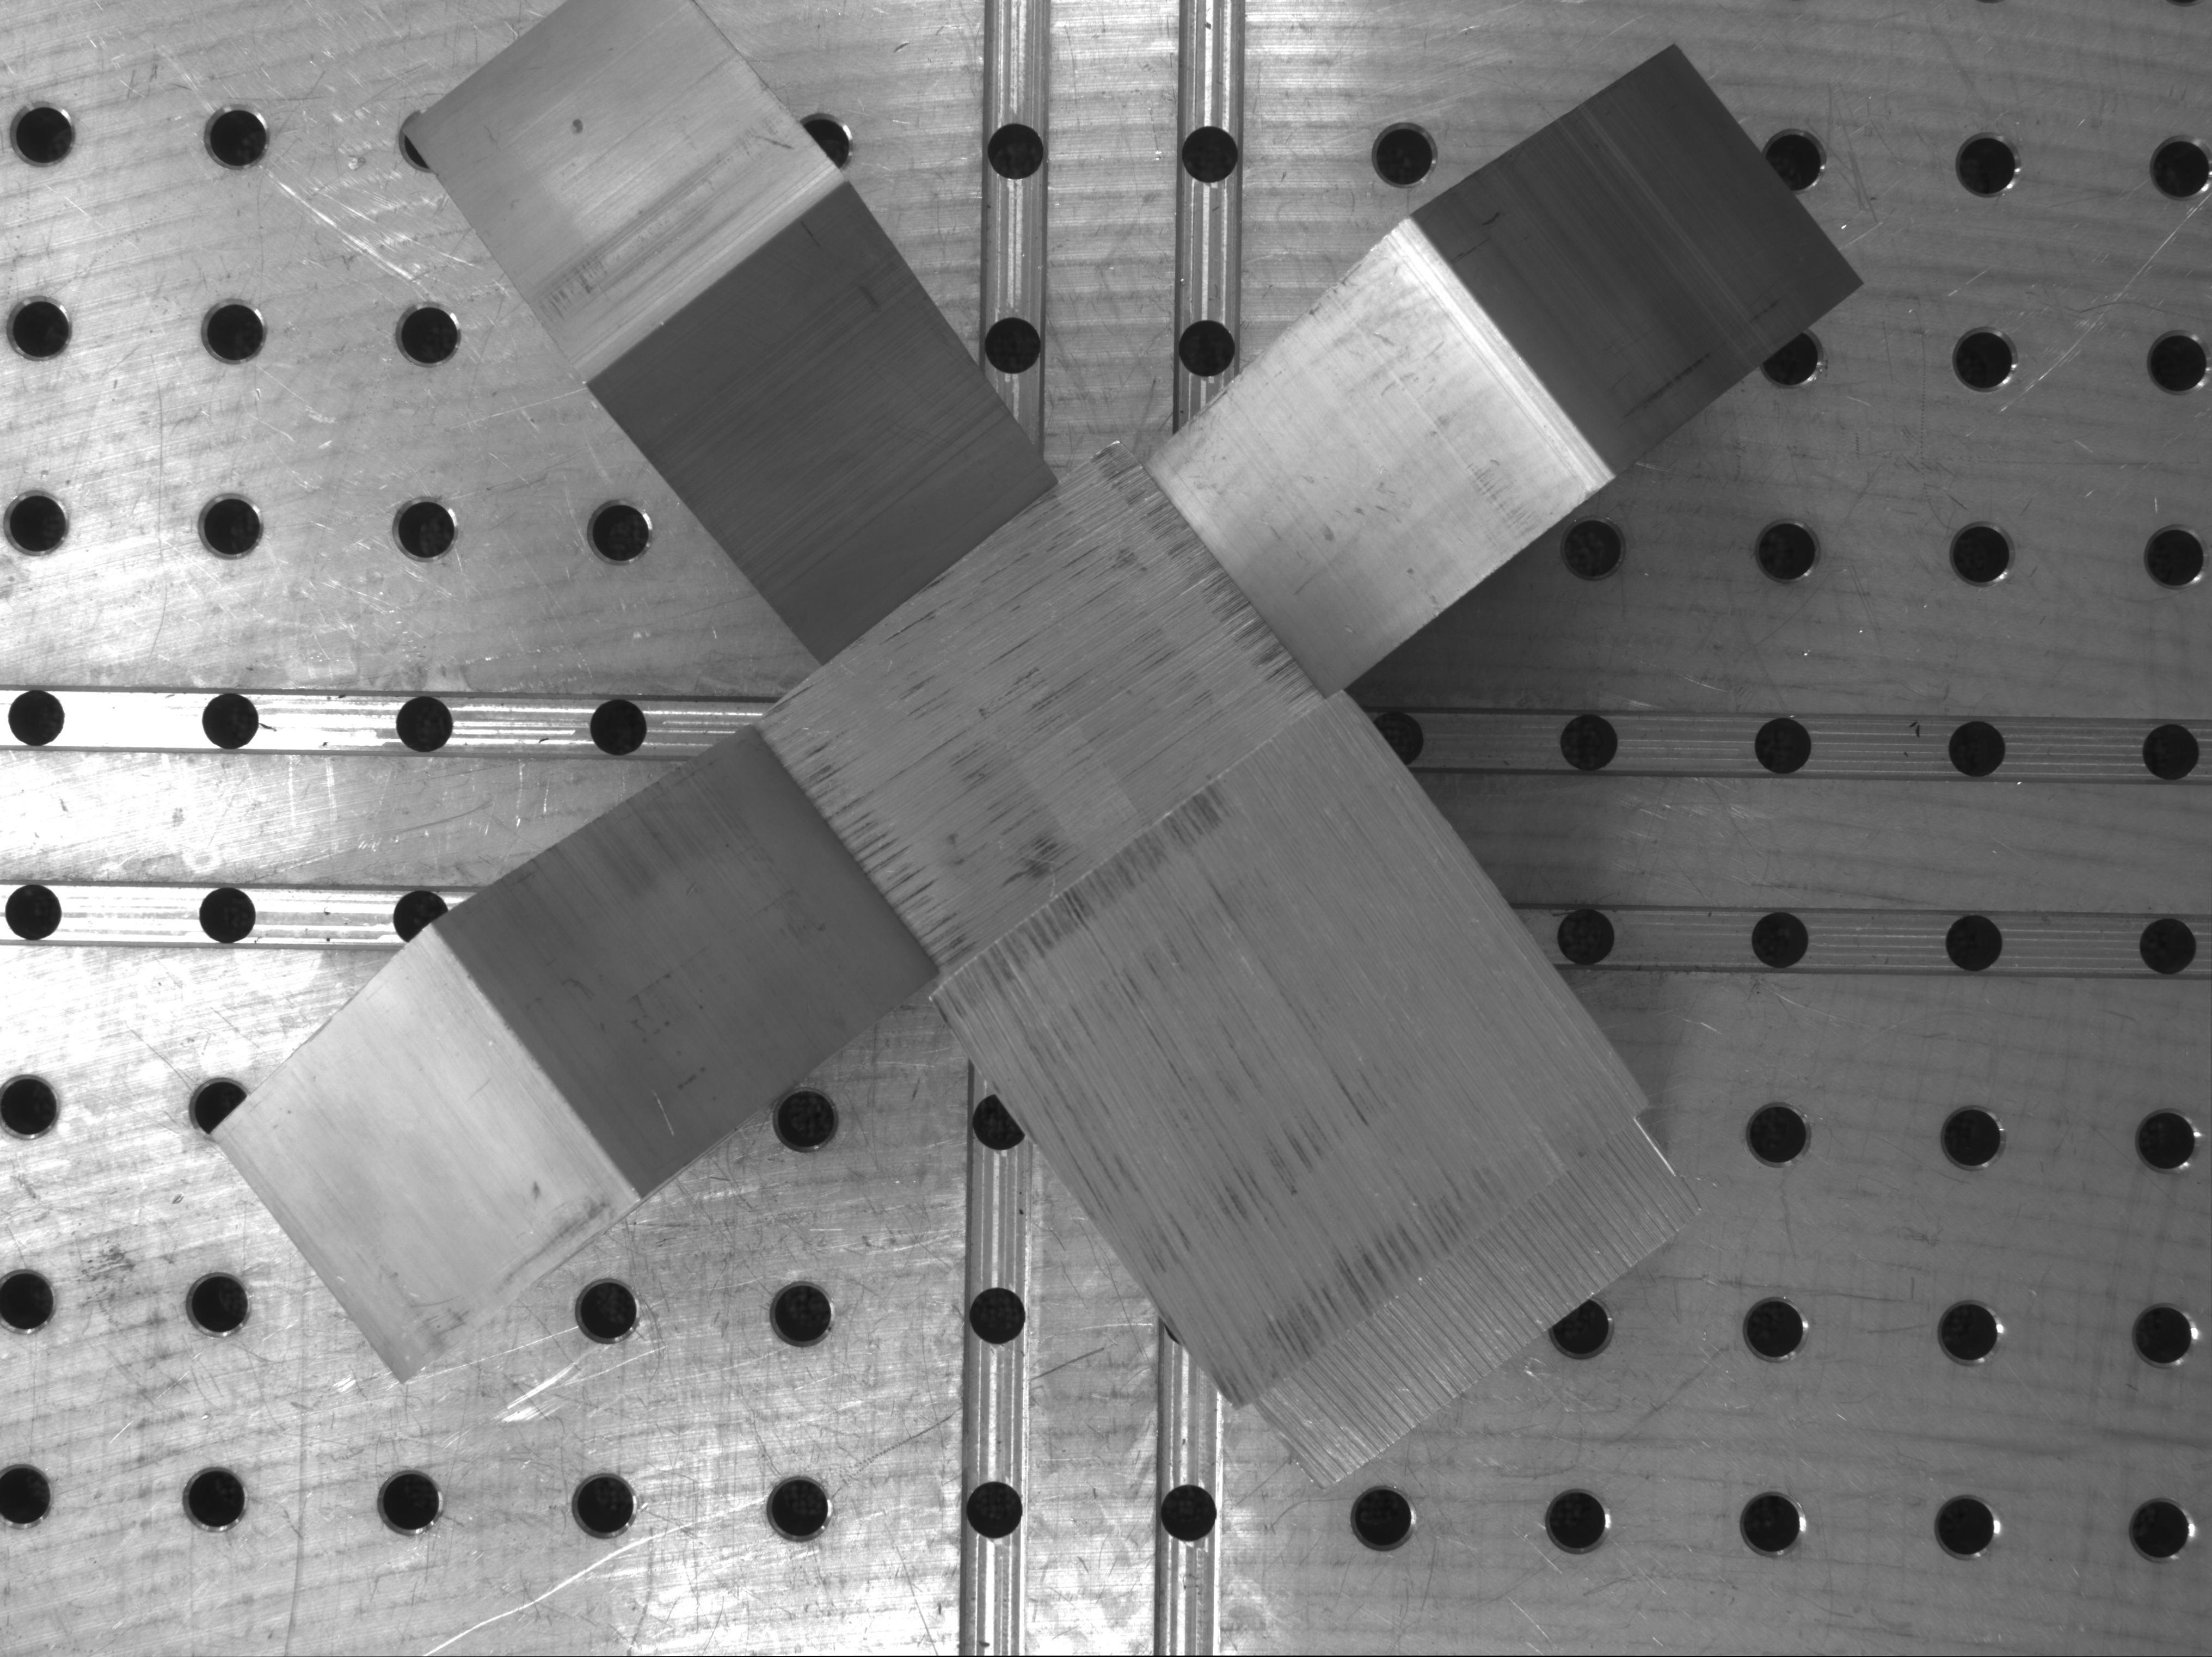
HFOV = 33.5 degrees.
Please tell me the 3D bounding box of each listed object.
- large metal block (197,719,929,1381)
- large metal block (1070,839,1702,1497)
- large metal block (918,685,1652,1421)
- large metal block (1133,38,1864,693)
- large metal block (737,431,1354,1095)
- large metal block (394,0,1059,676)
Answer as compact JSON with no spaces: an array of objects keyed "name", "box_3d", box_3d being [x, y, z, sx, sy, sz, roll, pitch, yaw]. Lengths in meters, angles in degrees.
[{"name":"large metal block","box_3d":[-0.089,0.036,0.606,0.050,0.080,0.080,52,132,1]},{"name":"large metal block","box_3d":[0.043,0.056,0.635,0.080,0.050,0.080,-37,89,-1]},{"name":"large metal block","box_3d":[0.027,0.034,0.585,0.080,0.050,0.080,-37,90,-1]},{"name":"large metal block","box_3d":[0.064,-0.075,0.605,0.050,0.080,0.080,52,50,1]},{"name":"large metal block","box_3d":[-0.005,-0.010,0.636,0.080,0.050,0.080,-38,90,0]},{"name":"large metal block","box_3d":[-0.062,-0.085,0.605,0.050,0.080,0.080,-38,51,0]}]
